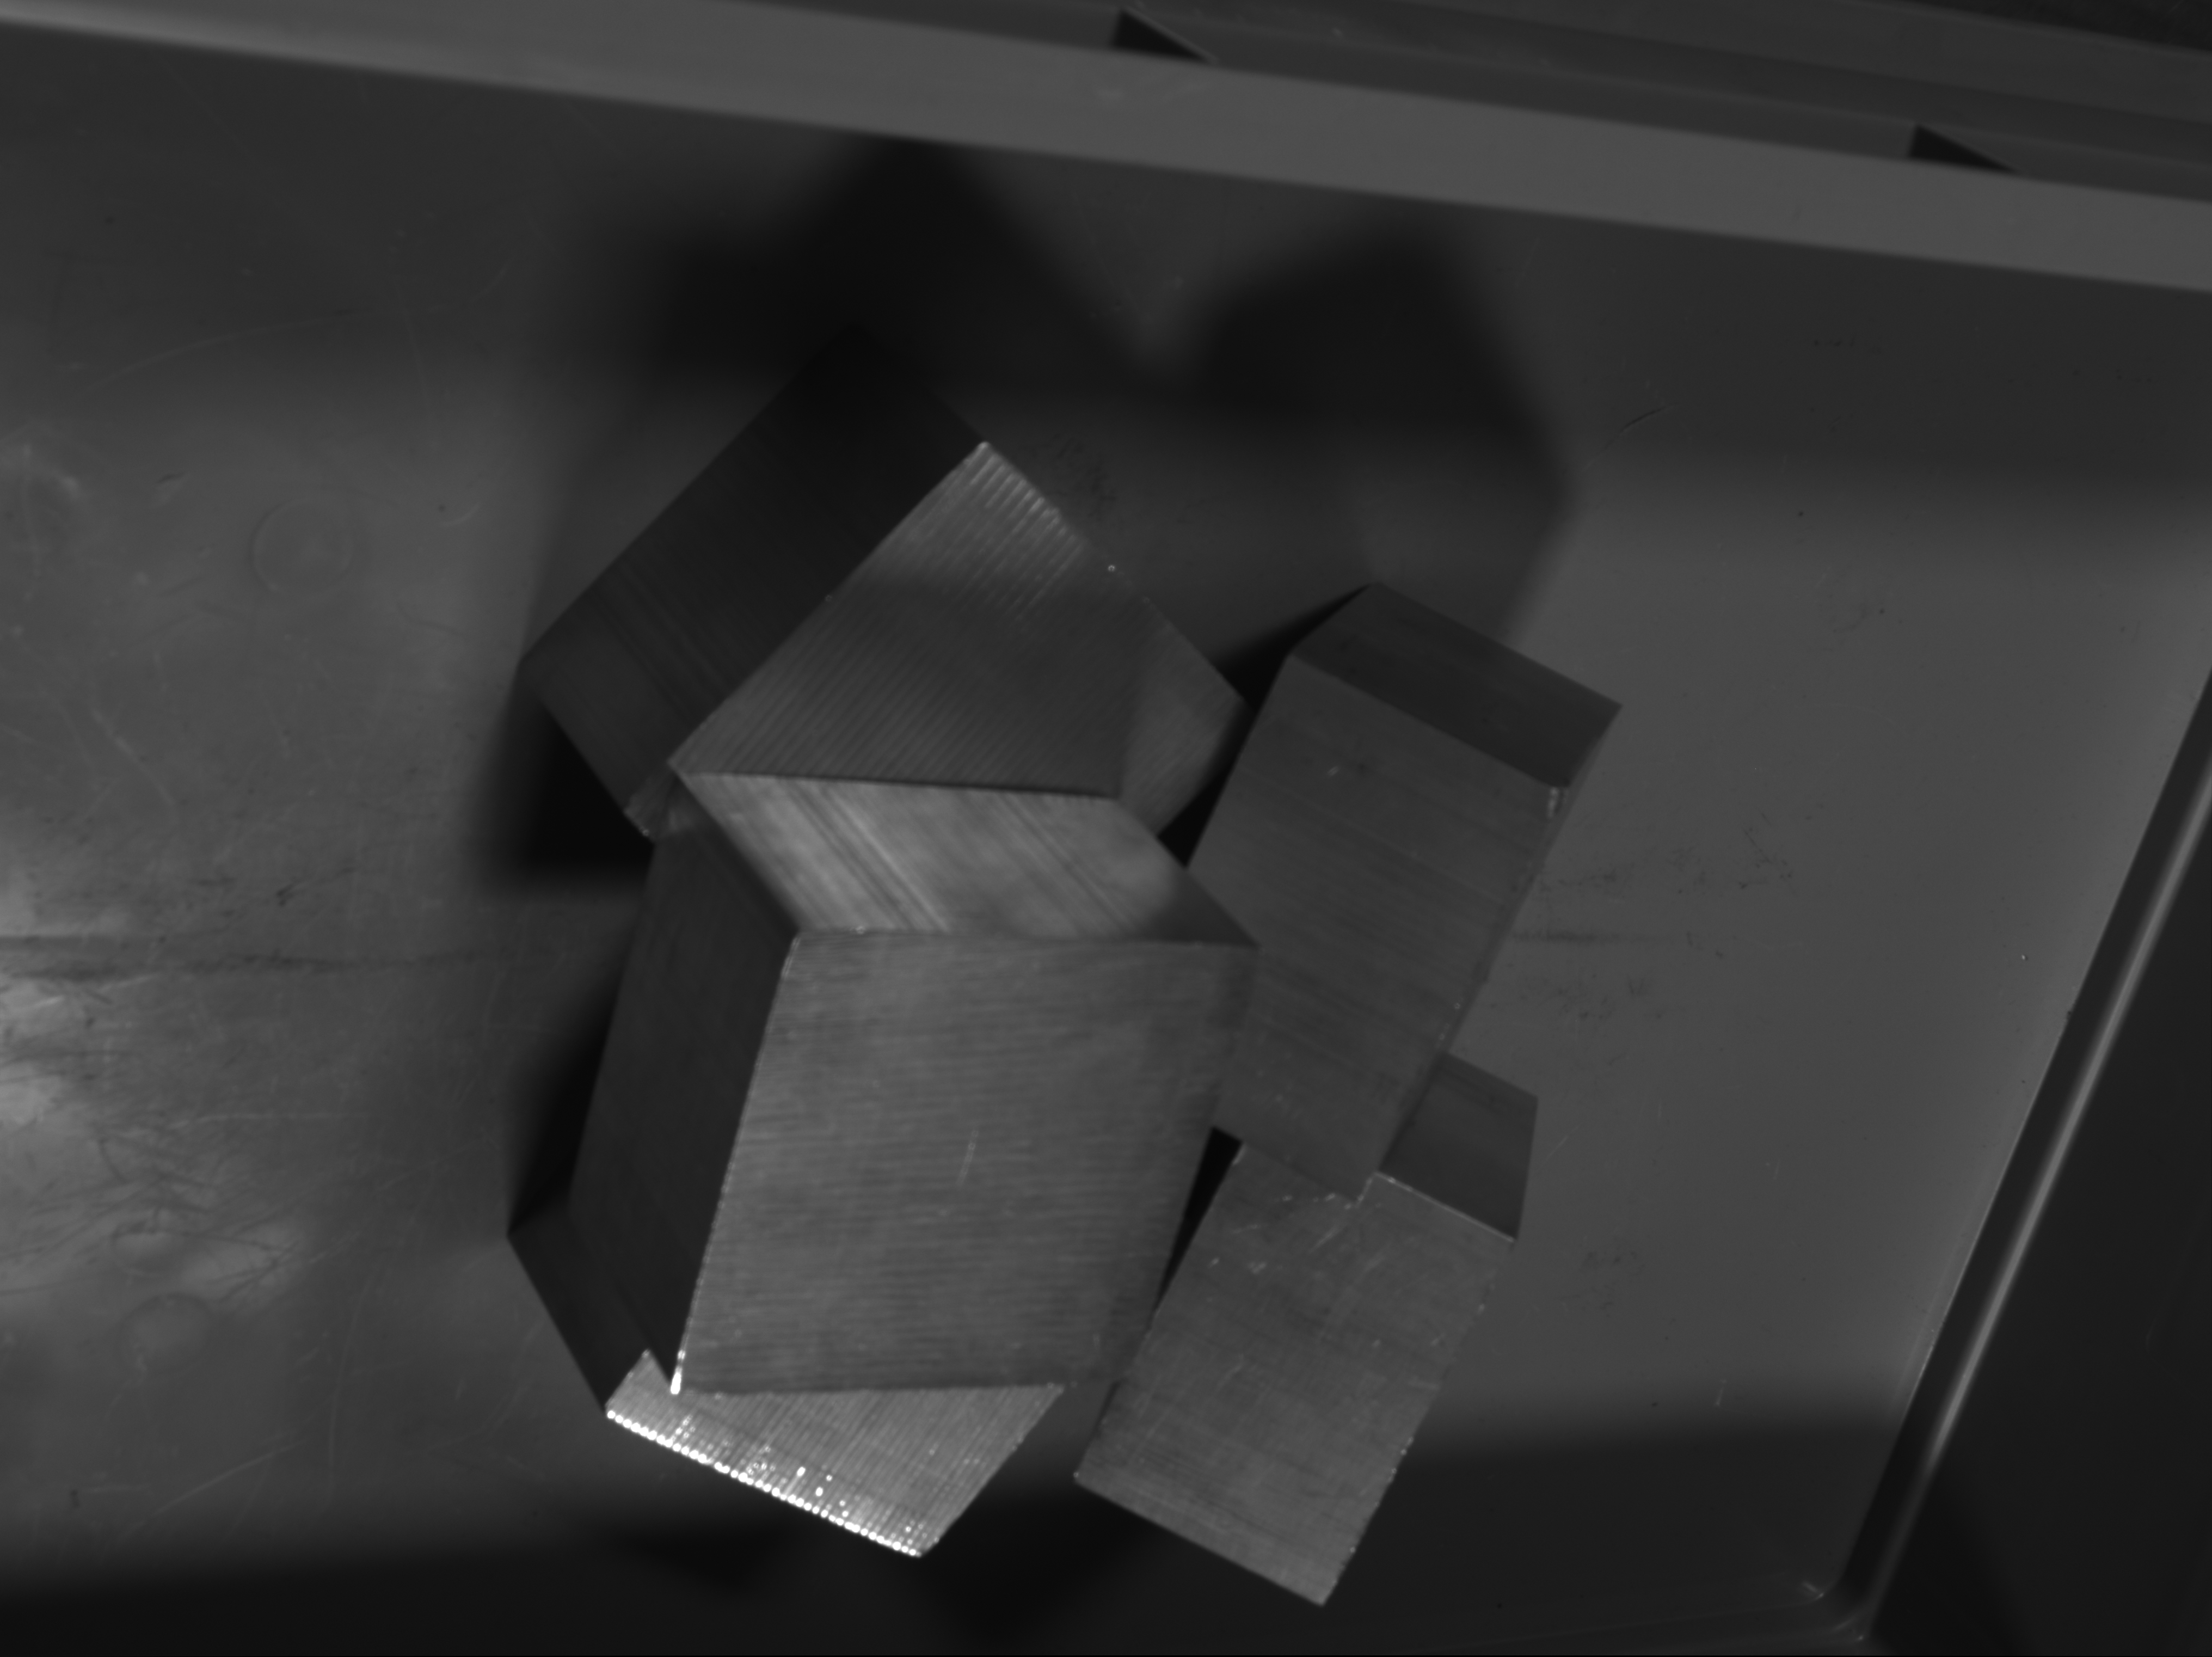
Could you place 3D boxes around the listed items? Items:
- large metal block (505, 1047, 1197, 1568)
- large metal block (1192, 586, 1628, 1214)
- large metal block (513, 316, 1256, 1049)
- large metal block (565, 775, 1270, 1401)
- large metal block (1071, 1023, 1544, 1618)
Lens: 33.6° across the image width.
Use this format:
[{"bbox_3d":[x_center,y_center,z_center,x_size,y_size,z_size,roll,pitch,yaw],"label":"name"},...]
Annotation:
[{"bbox_3d":[-0.044,0.073,0.649,0.080,0.050,0.080,-50,130,6],"label":"large metal block"},{"bbox_3d":[0.046,0.010,0.638,0.080,0.050,0.080,-65,172,17],"label":"large metal block"},{"bbox_3d":[-0.035,-0.022,0.600,0.080,0.050,0.080,-45,130,2],"label":"large metal block"},{"bbox_3d":[-0.031,0.041,0.573,0.080,0.050,0.080,3,115,-30],"label":"large metal block"},{"bbox_3d":[0.039,0.085,0.680,0.050,0.080,0.080,26,107,2],"label":"large metal block"}]
